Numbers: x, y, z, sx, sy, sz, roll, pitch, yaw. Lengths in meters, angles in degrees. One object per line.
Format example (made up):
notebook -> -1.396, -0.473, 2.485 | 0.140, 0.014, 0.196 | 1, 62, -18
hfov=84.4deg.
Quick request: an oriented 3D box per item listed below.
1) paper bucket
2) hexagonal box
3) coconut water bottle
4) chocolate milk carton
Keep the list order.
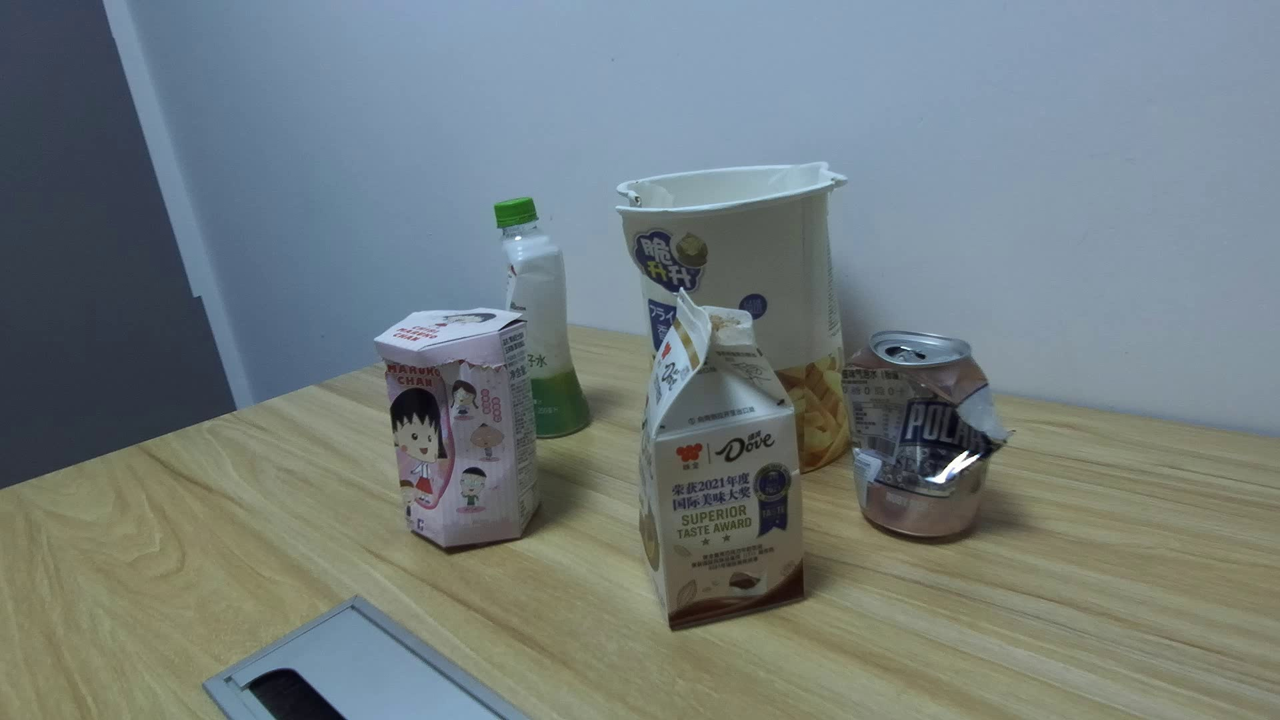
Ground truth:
paper bucket -> 0.074, -0.033, 0.504 | 0.146, 0.197, 0.202 | -7, 19, 3
hexagonal box -> -0.111, 0.040, 0.452 | 0.090, 0.134, 0.091 | -6, 18, -8
coconut water bottle -> -0.082, -0.033, 0.570 | 0.069, 0.187, 0.069 | -7, 15, 2
chocolate milk carton -> 0.035, 0.043, 0.358 | 0.073, 0.155, 0.084 | -9, 20, -8
